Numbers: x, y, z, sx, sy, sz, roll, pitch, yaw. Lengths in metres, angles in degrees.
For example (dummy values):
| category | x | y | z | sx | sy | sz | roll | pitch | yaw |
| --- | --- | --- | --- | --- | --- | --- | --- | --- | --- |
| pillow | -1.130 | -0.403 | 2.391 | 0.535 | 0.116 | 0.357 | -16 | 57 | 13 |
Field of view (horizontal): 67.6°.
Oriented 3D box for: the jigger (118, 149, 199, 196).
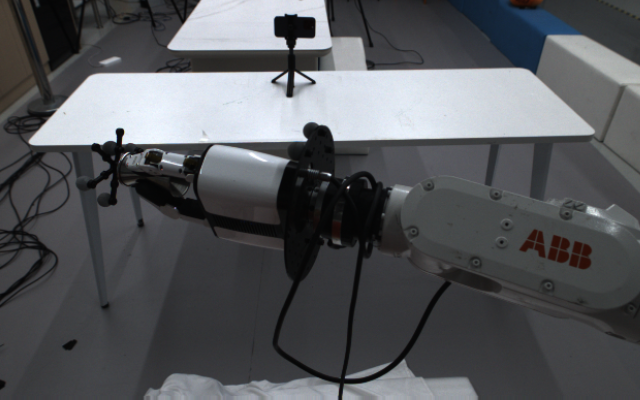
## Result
| category | x | y | z | sx | sy | sz | roll | pitch | yaw |
| --- | --- | --- | --- | --- | --- | --- | --- | --- | --- |
| jigger | -0.178 | -0.033 | 0.538 | 0.071 | 0.043 | 0.043 | 10 | 35 | 16 |
